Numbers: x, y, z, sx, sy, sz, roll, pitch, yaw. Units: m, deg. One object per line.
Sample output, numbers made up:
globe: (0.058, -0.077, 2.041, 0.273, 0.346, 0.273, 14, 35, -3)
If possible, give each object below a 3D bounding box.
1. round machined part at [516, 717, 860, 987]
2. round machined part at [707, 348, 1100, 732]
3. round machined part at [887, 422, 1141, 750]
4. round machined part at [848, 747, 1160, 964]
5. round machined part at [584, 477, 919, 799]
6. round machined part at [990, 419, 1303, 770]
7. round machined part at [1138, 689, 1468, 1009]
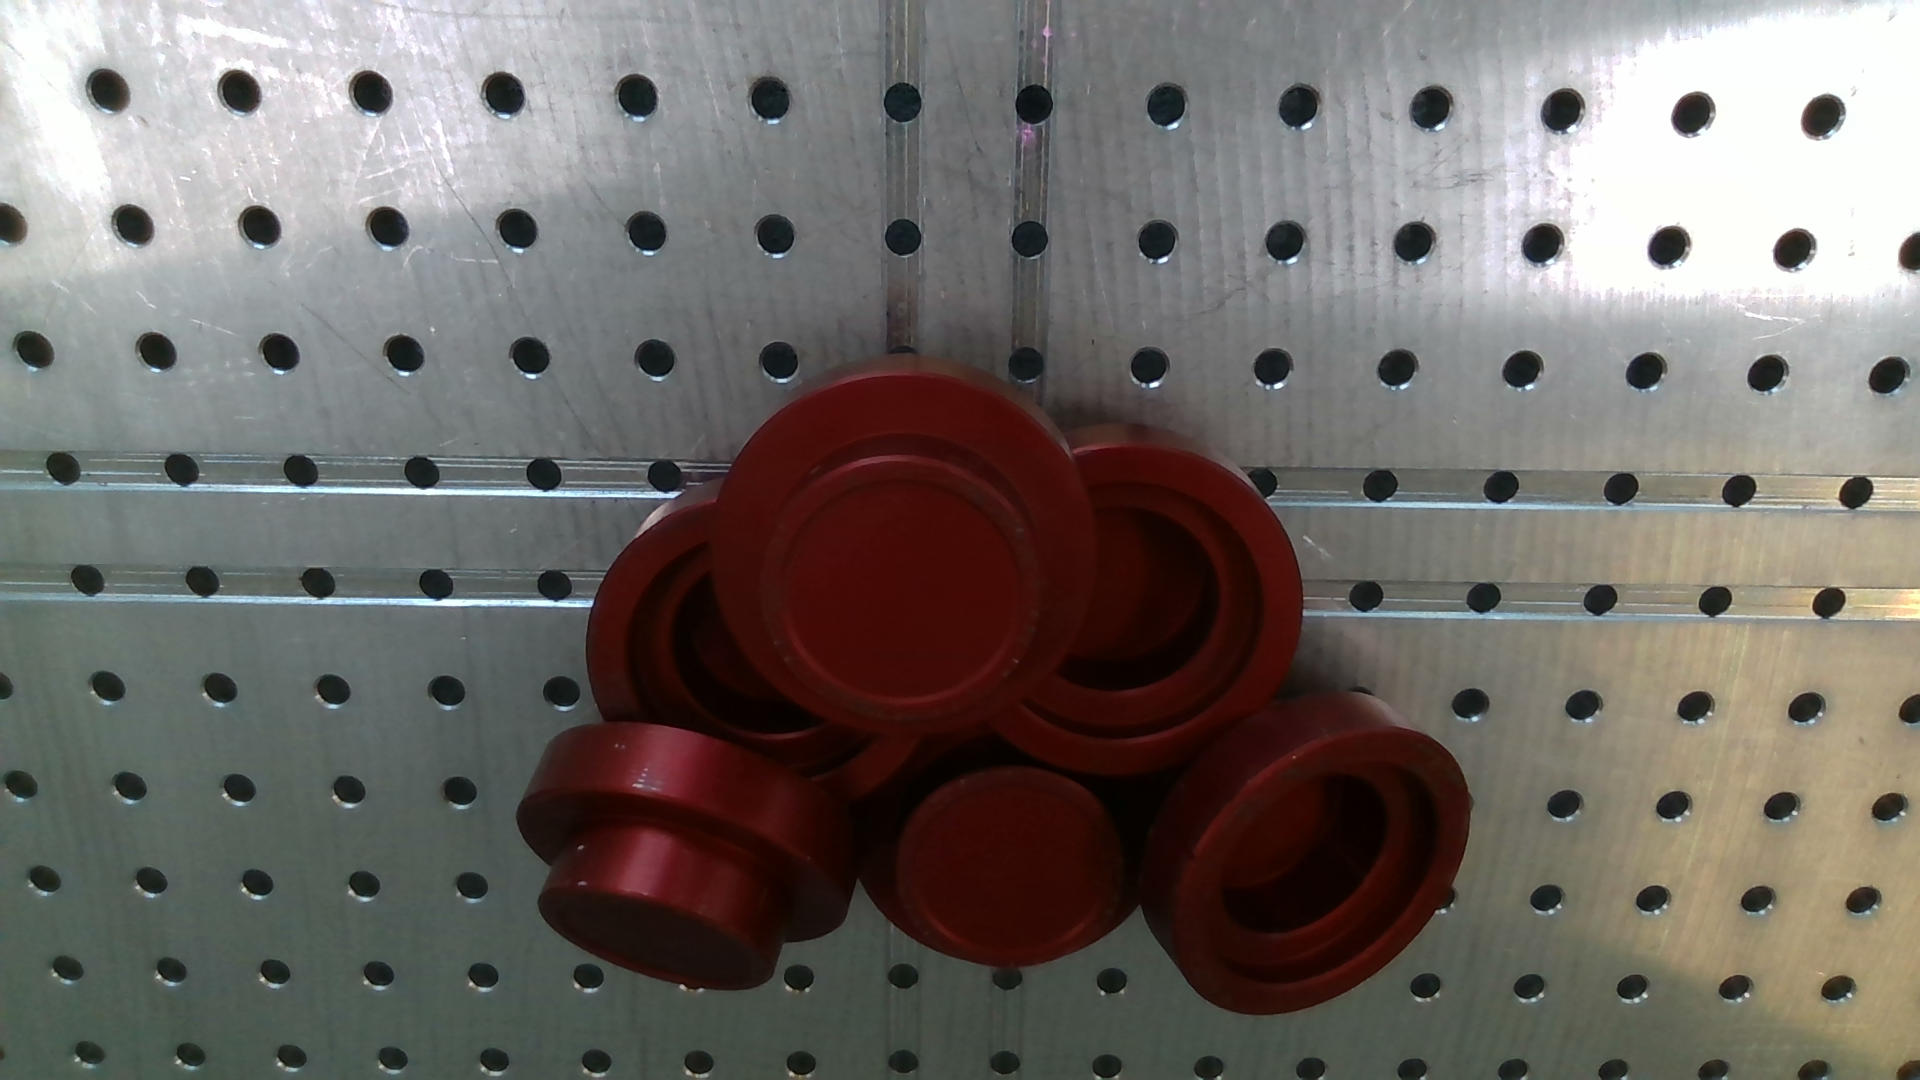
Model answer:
round machined part: (-0.080, 0.094, 0.395, 0.098, 0.042, 0.098, 10, 143, 8)
round machined part: (-0.014, 0.005, 0.343, 0.098, 0.042, 0.098, 0, 110, 0)
round machined part: (0.000, 0.006, 0.388, 0.098, 0.042, 0.098, 0, 110, 0)
round machined part: (0.014, 0.088, 0.418, 0.098, 0.042, 0.098, 0, 110, 0)
round machined part: (-0.054, 0.026, 0.396, 0.098, 0.042, 0.098, 0, 110, 0)
round machined part: (0.044, 0.012, 0.391, 0.098, 0.042, 0.098, 0, 110, 0)
round machined part: (0.096, 0.086, 0.406, 0.098, 0.042, 0.098, -10, 118, -18)
